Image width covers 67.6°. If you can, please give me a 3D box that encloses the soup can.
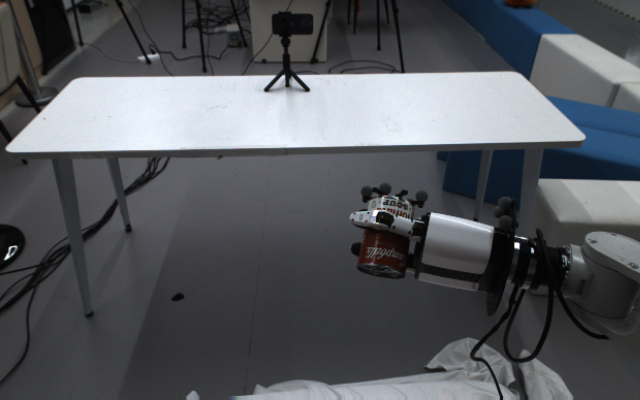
[{"bbox_3d":[0.094,0.052,0.675,0.067,0.067,0.101,9,70,10],"label":"soup can"}]
